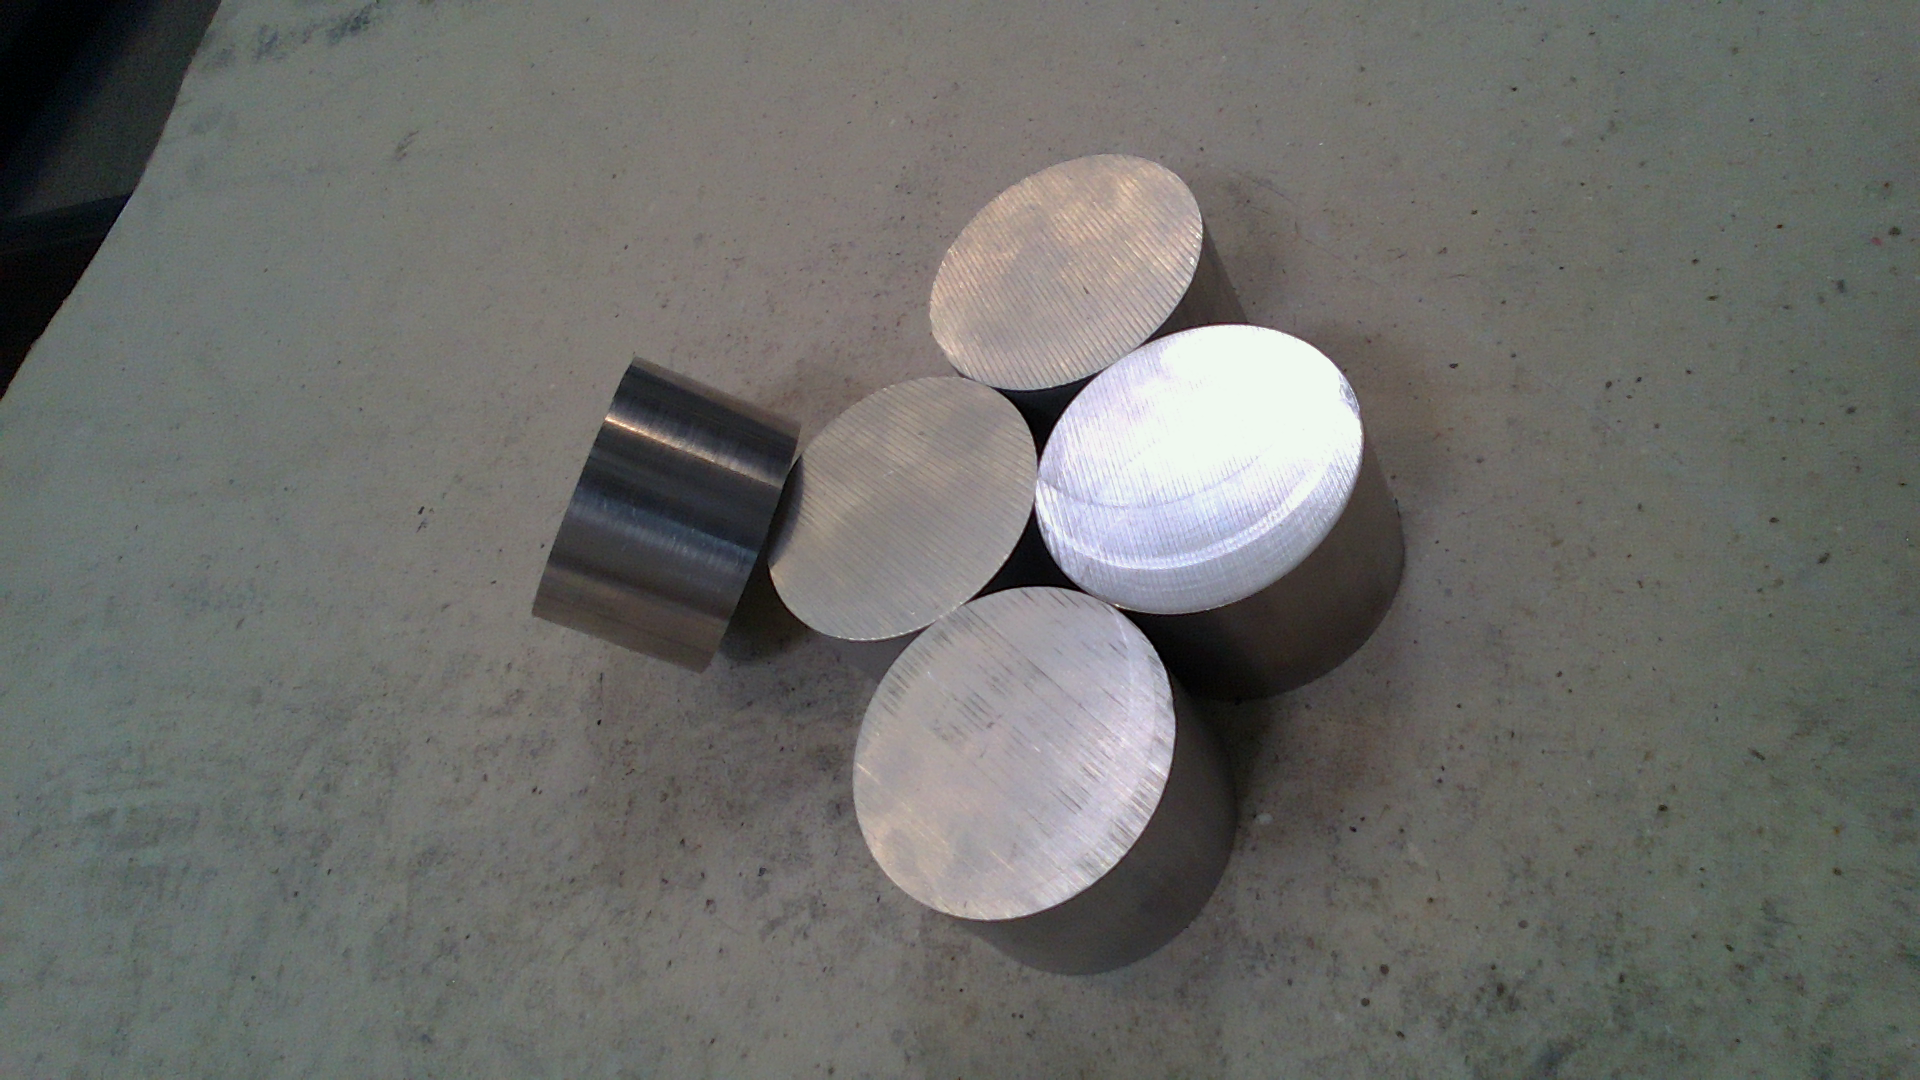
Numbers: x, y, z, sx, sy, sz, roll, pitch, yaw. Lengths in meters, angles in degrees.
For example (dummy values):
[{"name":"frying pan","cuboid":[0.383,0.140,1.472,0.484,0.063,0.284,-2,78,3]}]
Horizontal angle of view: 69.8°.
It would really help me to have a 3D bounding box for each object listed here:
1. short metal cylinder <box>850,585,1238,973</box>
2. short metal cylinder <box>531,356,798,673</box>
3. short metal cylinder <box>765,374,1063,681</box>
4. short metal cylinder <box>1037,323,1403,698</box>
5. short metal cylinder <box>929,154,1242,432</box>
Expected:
[{"name":"short metal cylinder","cuboid":[0.021,0.058,0.331,0.080,0.050,0.080,-13,56,21]},{"name":"short metal cylinder","cuboid":[-0.086,-0.007,0.402,0.080,0.050,0.080,-158,90,-78]},{"name":"short metal cylinder","cuboid":[-0.006,0.002,0.380,0.080,0.050,0.080,-13,56,21]},{"name":"short metal cylinder","cuboid":[0.066,-0.007,0.346,0.080,0.050,0.080,-13,56,21]},{"name":"short metal cylinder","cuboid":[0.038,-0.063,0.396,0.080,0.050,0.080,-13,56,21]}]
